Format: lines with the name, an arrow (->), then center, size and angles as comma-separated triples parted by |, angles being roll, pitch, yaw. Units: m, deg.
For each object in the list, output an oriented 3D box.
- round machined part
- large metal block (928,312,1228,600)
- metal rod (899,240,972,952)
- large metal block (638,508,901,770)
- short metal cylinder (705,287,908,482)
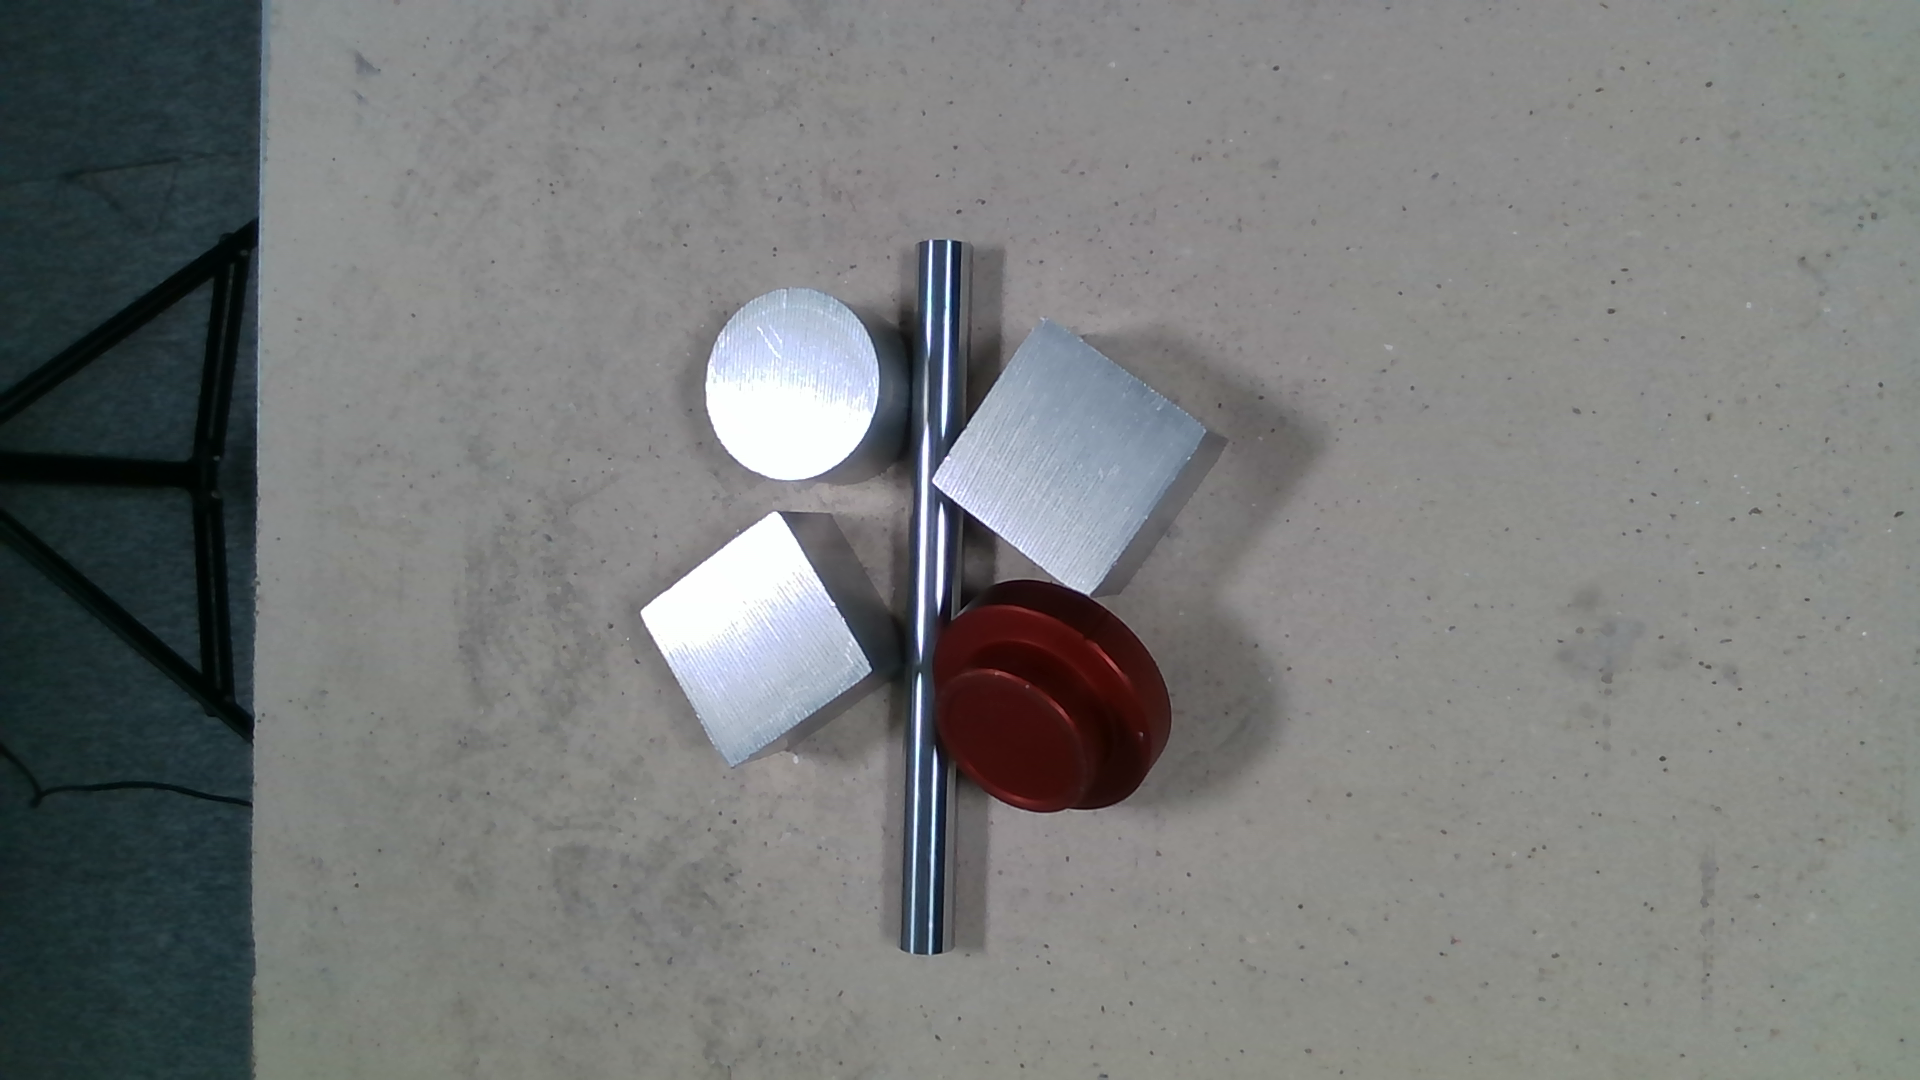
round machined part -> 0.029, 0.067, 0.541 | 0.098, 0.042, 0.098 | 18, 127, 26
large metal block -> 0.049, -0.032, 0.552 | 0.080, 0.050, 0.080 | 38, 103, 16
metal rod -> -0.011, 0.024, 0.591 | 0.025, 0.025, 0.300 | 2, 91, 20
large metal block -> -0.079, 0.042, 0.602 | 0.080, 0.050, 0.080 | -35, 79, 17
short metal cylinder -> -0.062, -0.065, 0.595 | 0.080, 0.050, 0.080 | 0, 90, 20
